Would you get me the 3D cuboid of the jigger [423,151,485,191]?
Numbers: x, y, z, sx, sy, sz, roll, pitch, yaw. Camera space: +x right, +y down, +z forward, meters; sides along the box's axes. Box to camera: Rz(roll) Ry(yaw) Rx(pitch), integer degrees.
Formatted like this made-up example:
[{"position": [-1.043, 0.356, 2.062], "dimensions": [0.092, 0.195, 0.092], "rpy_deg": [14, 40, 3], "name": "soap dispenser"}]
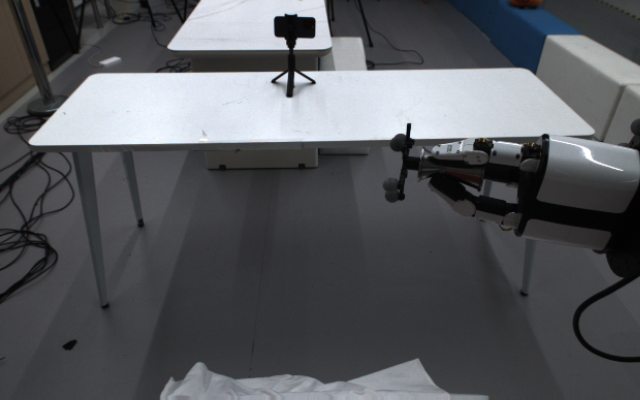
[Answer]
[{"position": [0.152, -0.039, 0.537], "dimensions": [0.071, 0.043, 0.043], "rpy_deg": [8, 35, 13], "name": "jigger"}]
